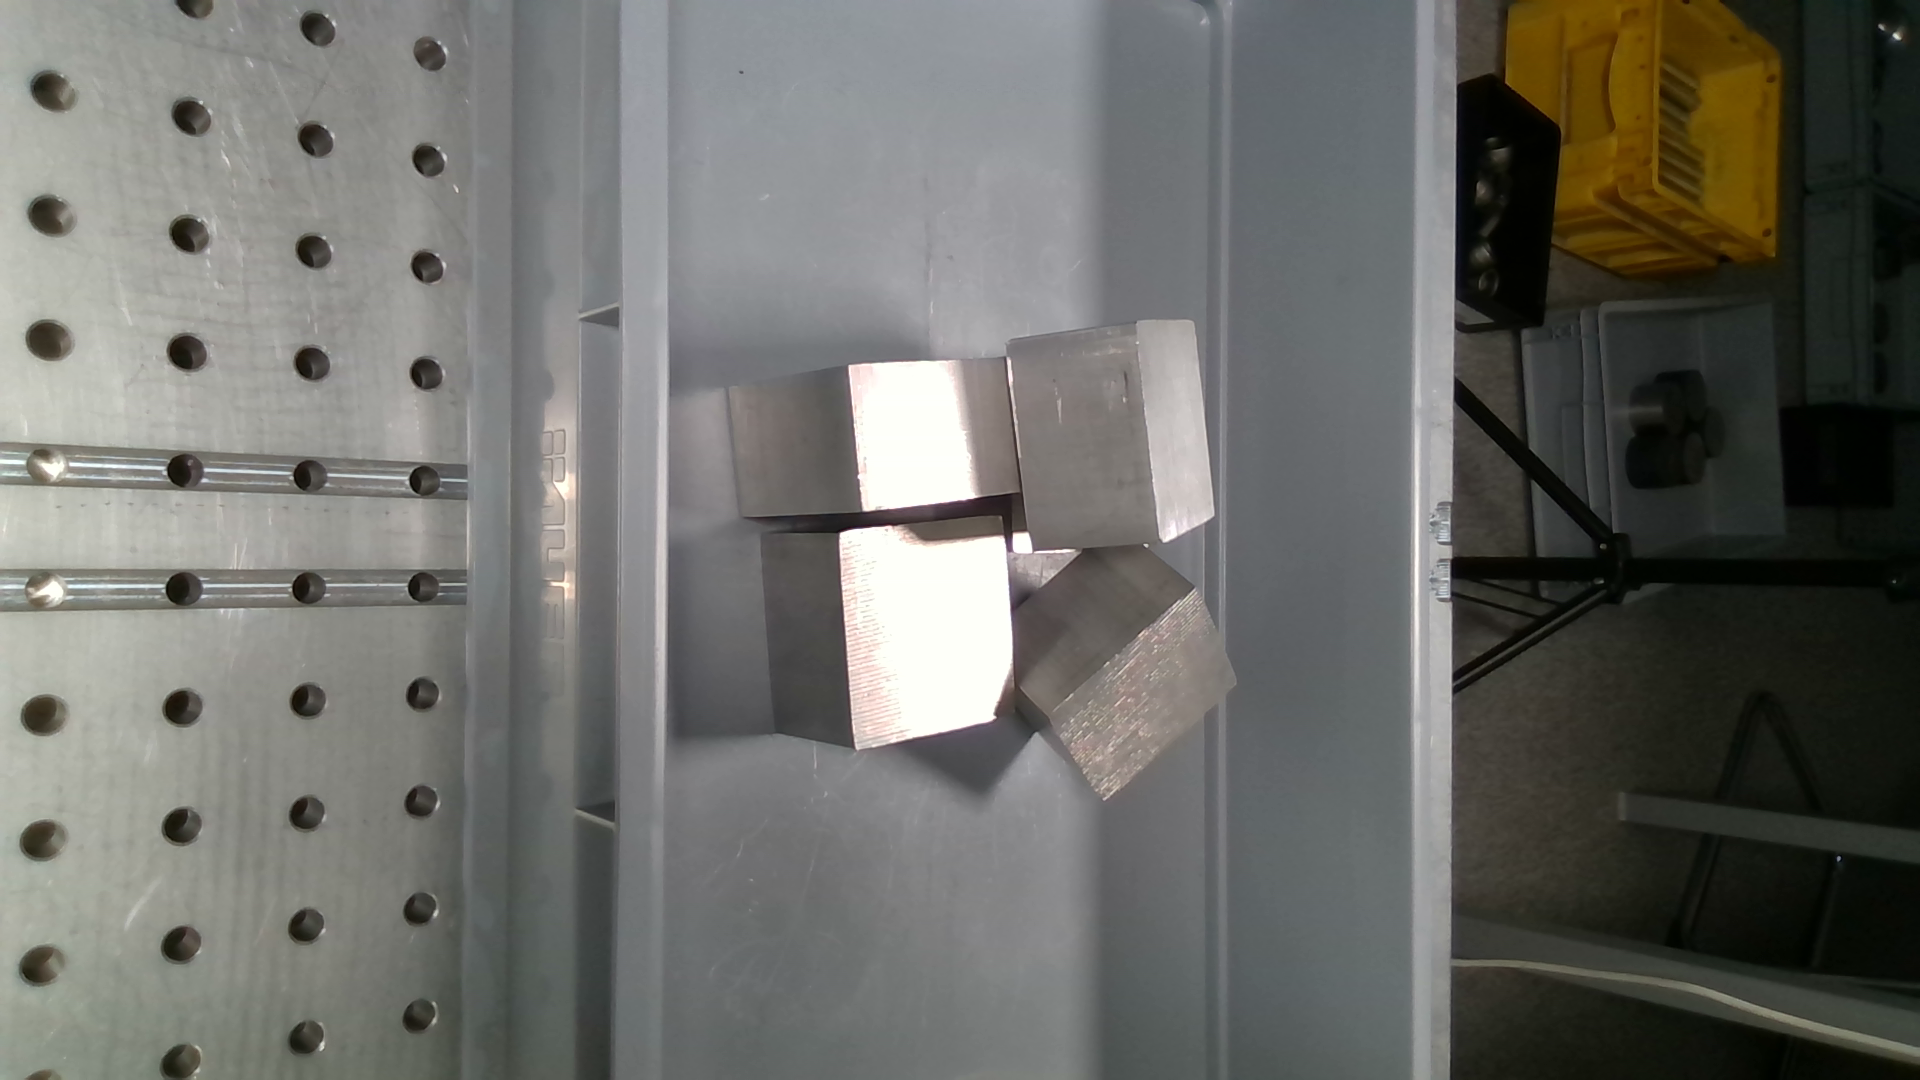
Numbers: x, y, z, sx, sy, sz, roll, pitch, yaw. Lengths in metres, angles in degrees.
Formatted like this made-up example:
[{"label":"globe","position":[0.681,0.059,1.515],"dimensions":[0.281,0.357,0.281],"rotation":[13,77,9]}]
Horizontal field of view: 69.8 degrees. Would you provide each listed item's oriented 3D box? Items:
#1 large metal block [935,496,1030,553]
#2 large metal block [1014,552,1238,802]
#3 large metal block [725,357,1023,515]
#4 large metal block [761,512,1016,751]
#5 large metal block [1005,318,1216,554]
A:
[{"label":"large metal block","position":[0.036,-0.036,0.596],"dimensions":[0.080,0.050,0.080],"rotation":[-2,91,-40]},{"label":"large metal block","position":[0.064,0.052,0.586],"dimensions":[0.080,0.050,0.080],"rotation":[-41,139,-7]},{"label":"large metal block","position":[-0.031,-0.039,0.520],"dimensions":[0.080,0.080,0.050],"rotation":[-9,95,-40]},{"label":"large metal block","position":[-0.027,0.033,0.540],"dimensions":[0.080,0.050,0.080],"rotation":[-7,95,-40]},{"label":"large metal block","position":[0.060,-0.042,0.531],"dimensions":[0.080,0.050,0.080],"rotation":[-20,104,-64]}]
